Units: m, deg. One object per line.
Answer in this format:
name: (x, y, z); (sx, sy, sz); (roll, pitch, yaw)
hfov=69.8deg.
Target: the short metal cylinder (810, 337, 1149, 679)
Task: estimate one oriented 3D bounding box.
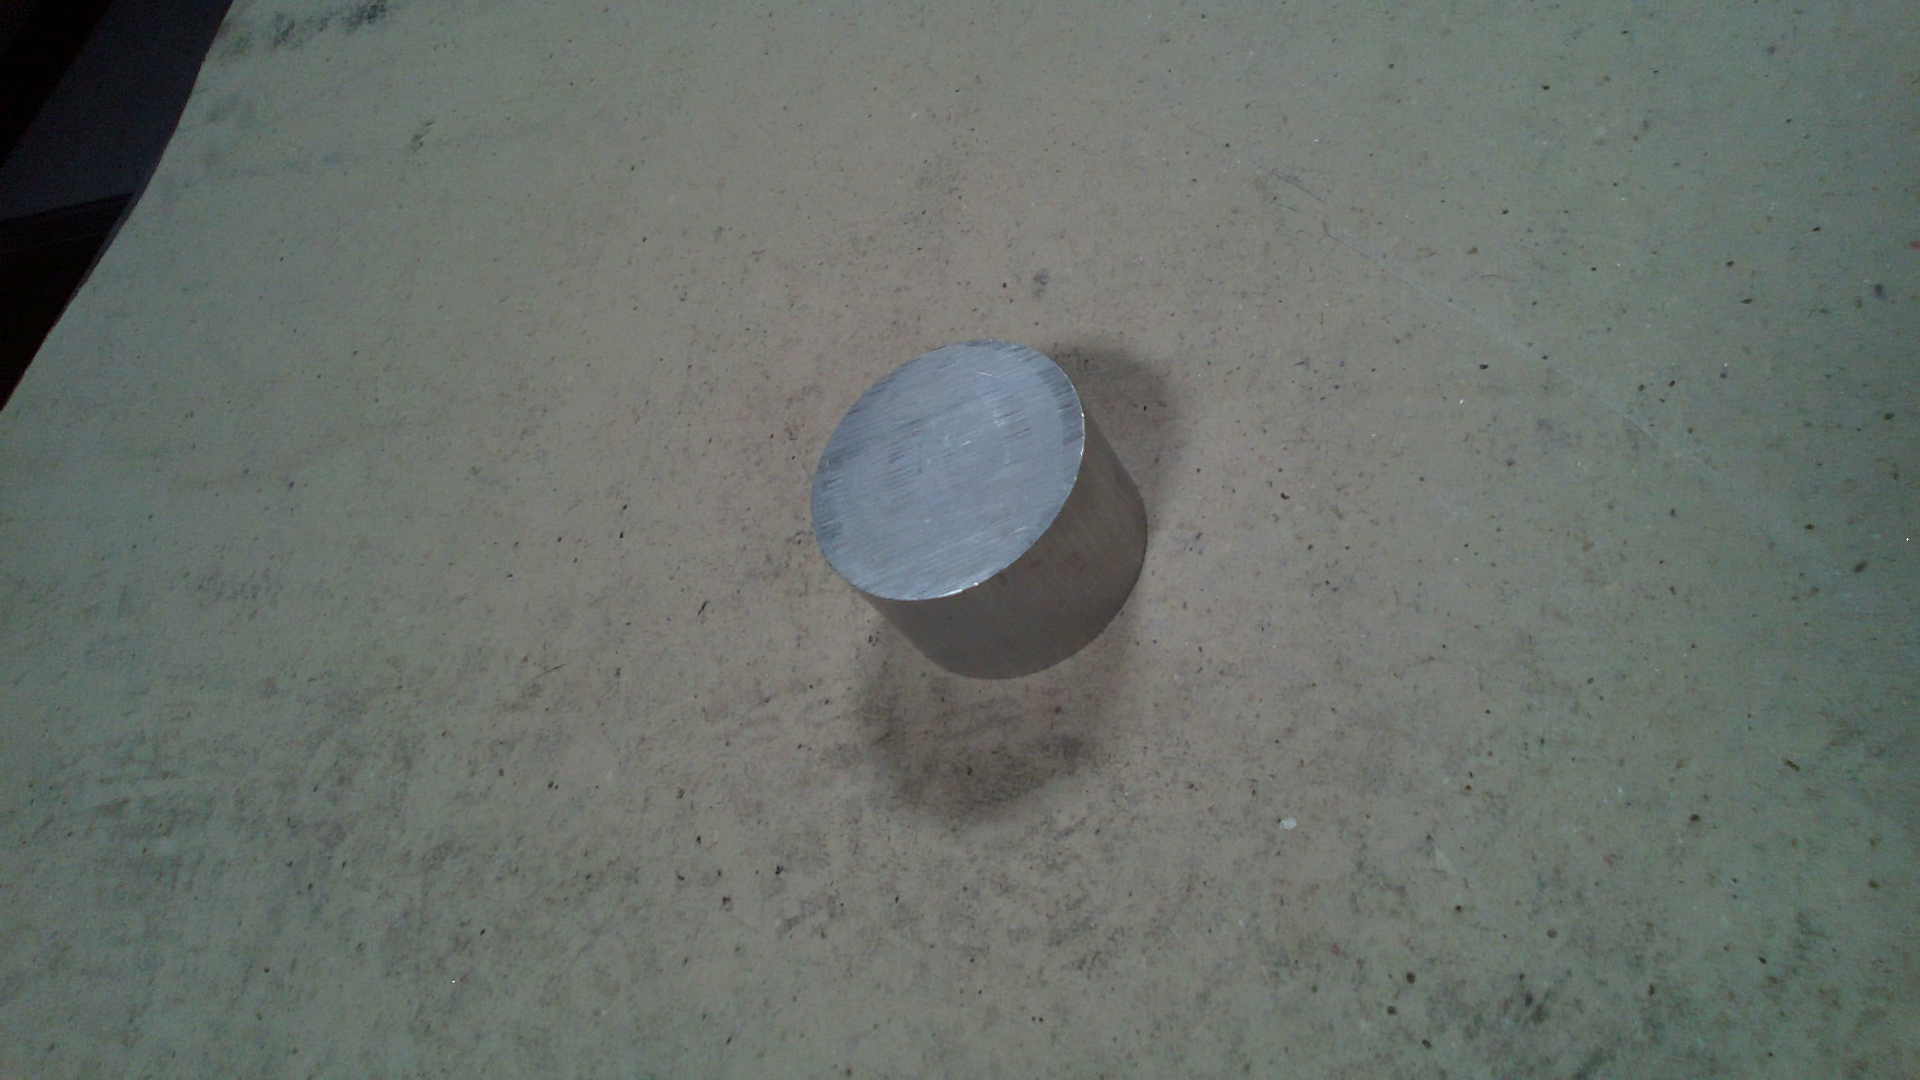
short metal cylinder: (0.006, -0.009, 0.380); (0.080, 0.050, 0.080); (-14, 56, 21)
